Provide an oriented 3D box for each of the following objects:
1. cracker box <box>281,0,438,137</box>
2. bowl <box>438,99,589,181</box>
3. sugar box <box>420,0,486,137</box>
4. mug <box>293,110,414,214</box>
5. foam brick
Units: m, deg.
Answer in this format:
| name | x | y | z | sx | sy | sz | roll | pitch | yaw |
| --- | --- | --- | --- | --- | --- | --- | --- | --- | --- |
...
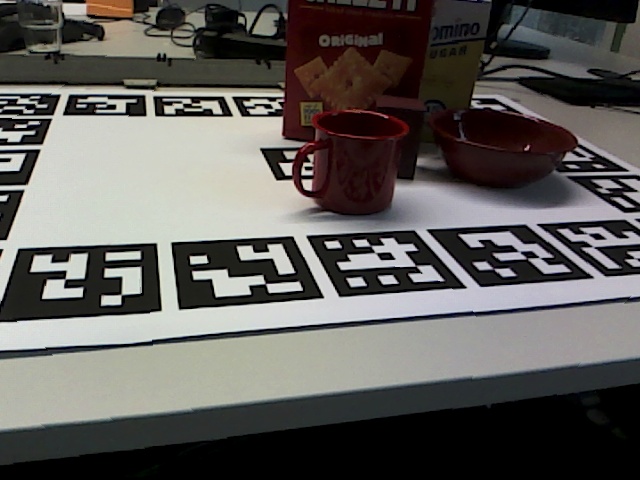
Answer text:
| name | x | y | z | sx | sy | sz | roll | pitch | yaw |
| --- | --- | --- | --- | --- | --- | --- | --- | --- | --- |
| cracker box | 0.046 | -0.224 | 0.735 | 0.164 | 0.213 | 0.072 | 12 | 27 | 10 |
| bowl | 0.208 | -0.109 | 0.692 | 0.161 | 0.055 | 0.162 | 4 | 29 | -3 |
| sugar box | 0.147 | -0.221 | 0.783 | 0.093 | 0.176 | 0.045 | 7 | 28 | 3 |
| mug | 0.029 | -0.073 | 0.583 | 0.116 | 0.081 | 0.094 | -10 | 24 | -22 |
| foam brick | 0.082 | -0.114 | 0.688 | 0.053 | 0.078 | 0.051 | 4 | 28 | -2 |
